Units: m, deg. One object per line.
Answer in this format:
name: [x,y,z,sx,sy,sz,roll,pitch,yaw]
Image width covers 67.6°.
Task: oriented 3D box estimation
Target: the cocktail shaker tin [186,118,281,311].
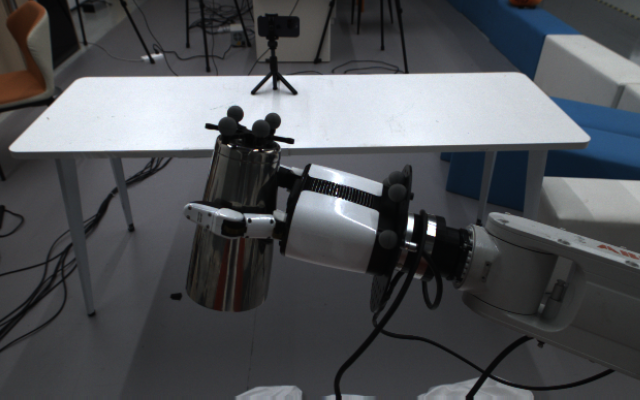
cocktail shaker tin: [-0.085,0.021,0.514,0.093,0.170,0.093,11,19,-4]
